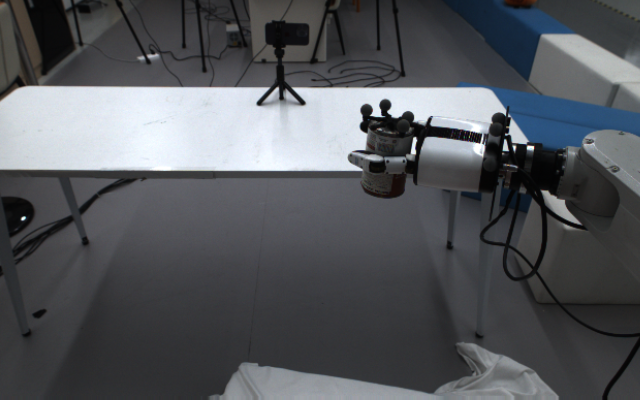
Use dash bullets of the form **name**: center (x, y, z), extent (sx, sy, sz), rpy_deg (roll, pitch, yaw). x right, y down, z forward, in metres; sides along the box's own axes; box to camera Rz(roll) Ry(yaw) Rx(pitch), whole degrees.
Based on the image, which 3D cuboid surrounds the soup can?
- **soup can**: center (0.099, -0.062, 0.714), extent (0.067, 0.101, 0.067), rpy_deg (4, 30, -2)
